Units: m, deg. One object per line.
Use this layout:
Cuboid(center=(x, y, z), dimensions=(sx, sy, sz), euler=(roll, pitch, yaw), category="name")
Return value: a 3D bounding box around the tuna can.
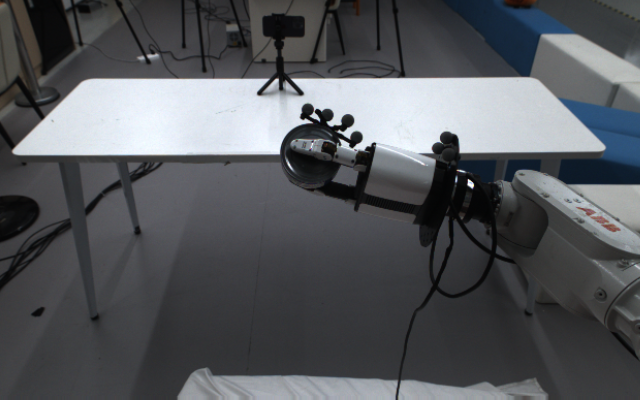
Cuboid(center=(-0.012, -0.060, 0.671), dimensions=(0.085, 0.034, 0.085), euler=(1, 76, -4), category="tuna can")
